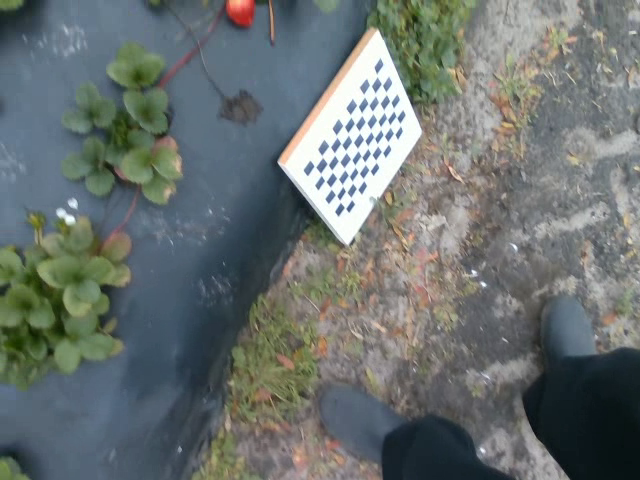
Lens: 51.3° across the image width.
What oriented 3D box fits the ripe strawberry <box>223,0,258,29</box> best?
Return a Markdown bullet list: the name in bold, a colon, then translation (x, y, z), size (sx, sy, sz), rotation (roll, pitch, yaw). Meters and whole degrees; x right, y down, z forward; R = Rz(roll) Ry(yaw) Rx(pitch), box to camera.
- **ripe strawberry**: translation (-0.127, -0.403, 1.177), size (0.049, 0.062, 0.065), rotation (18, -31, 38)
